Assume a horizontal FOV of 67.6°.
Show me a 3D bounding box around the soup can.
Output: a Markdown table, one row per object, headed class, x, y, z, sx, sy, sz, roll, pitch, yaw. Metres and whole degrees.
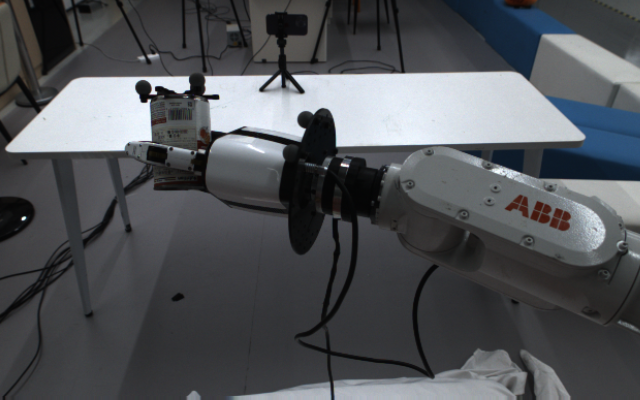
| class | x | y | z | sx | sy | sz | roll | pitch | yaw |
| --- | --- | --- | --- | --- | --- | --- | --- | --- | --- |
| soup can | -0.157 | -0.062 | 0.553 | 0.067 | 0.101 | 0.067 | -3 | -1 | 0 |
